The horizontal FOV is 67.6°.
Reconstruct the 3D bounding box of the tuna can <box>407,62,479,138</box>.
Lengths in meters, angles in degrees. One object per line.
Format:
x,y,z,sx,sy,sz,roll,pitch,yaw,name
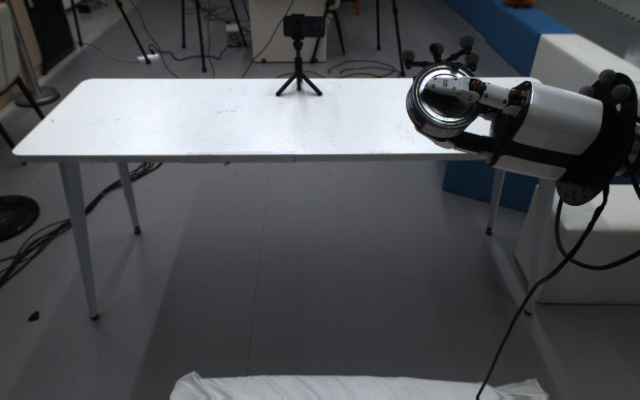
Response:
0.148,-0.120,0.577,0.085,0.034,0.085,1,72,-4,tuna can
